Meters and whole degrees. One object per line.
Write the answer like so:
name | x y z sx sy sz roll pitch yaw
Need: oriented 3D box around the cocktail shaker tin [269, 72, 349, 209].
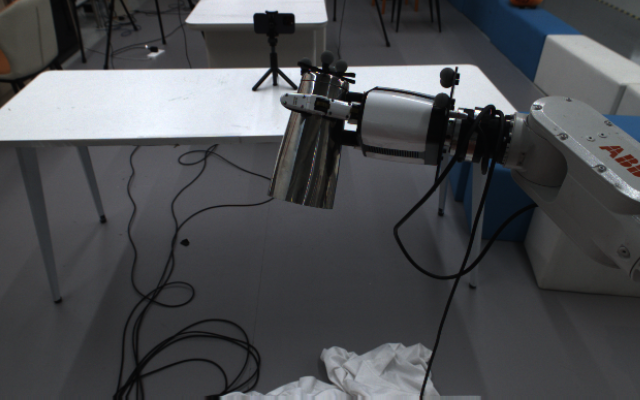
cocktail shaker tin | -0.009 -0.083 0.660 0.093 0.170 0.093 12 3 -1
